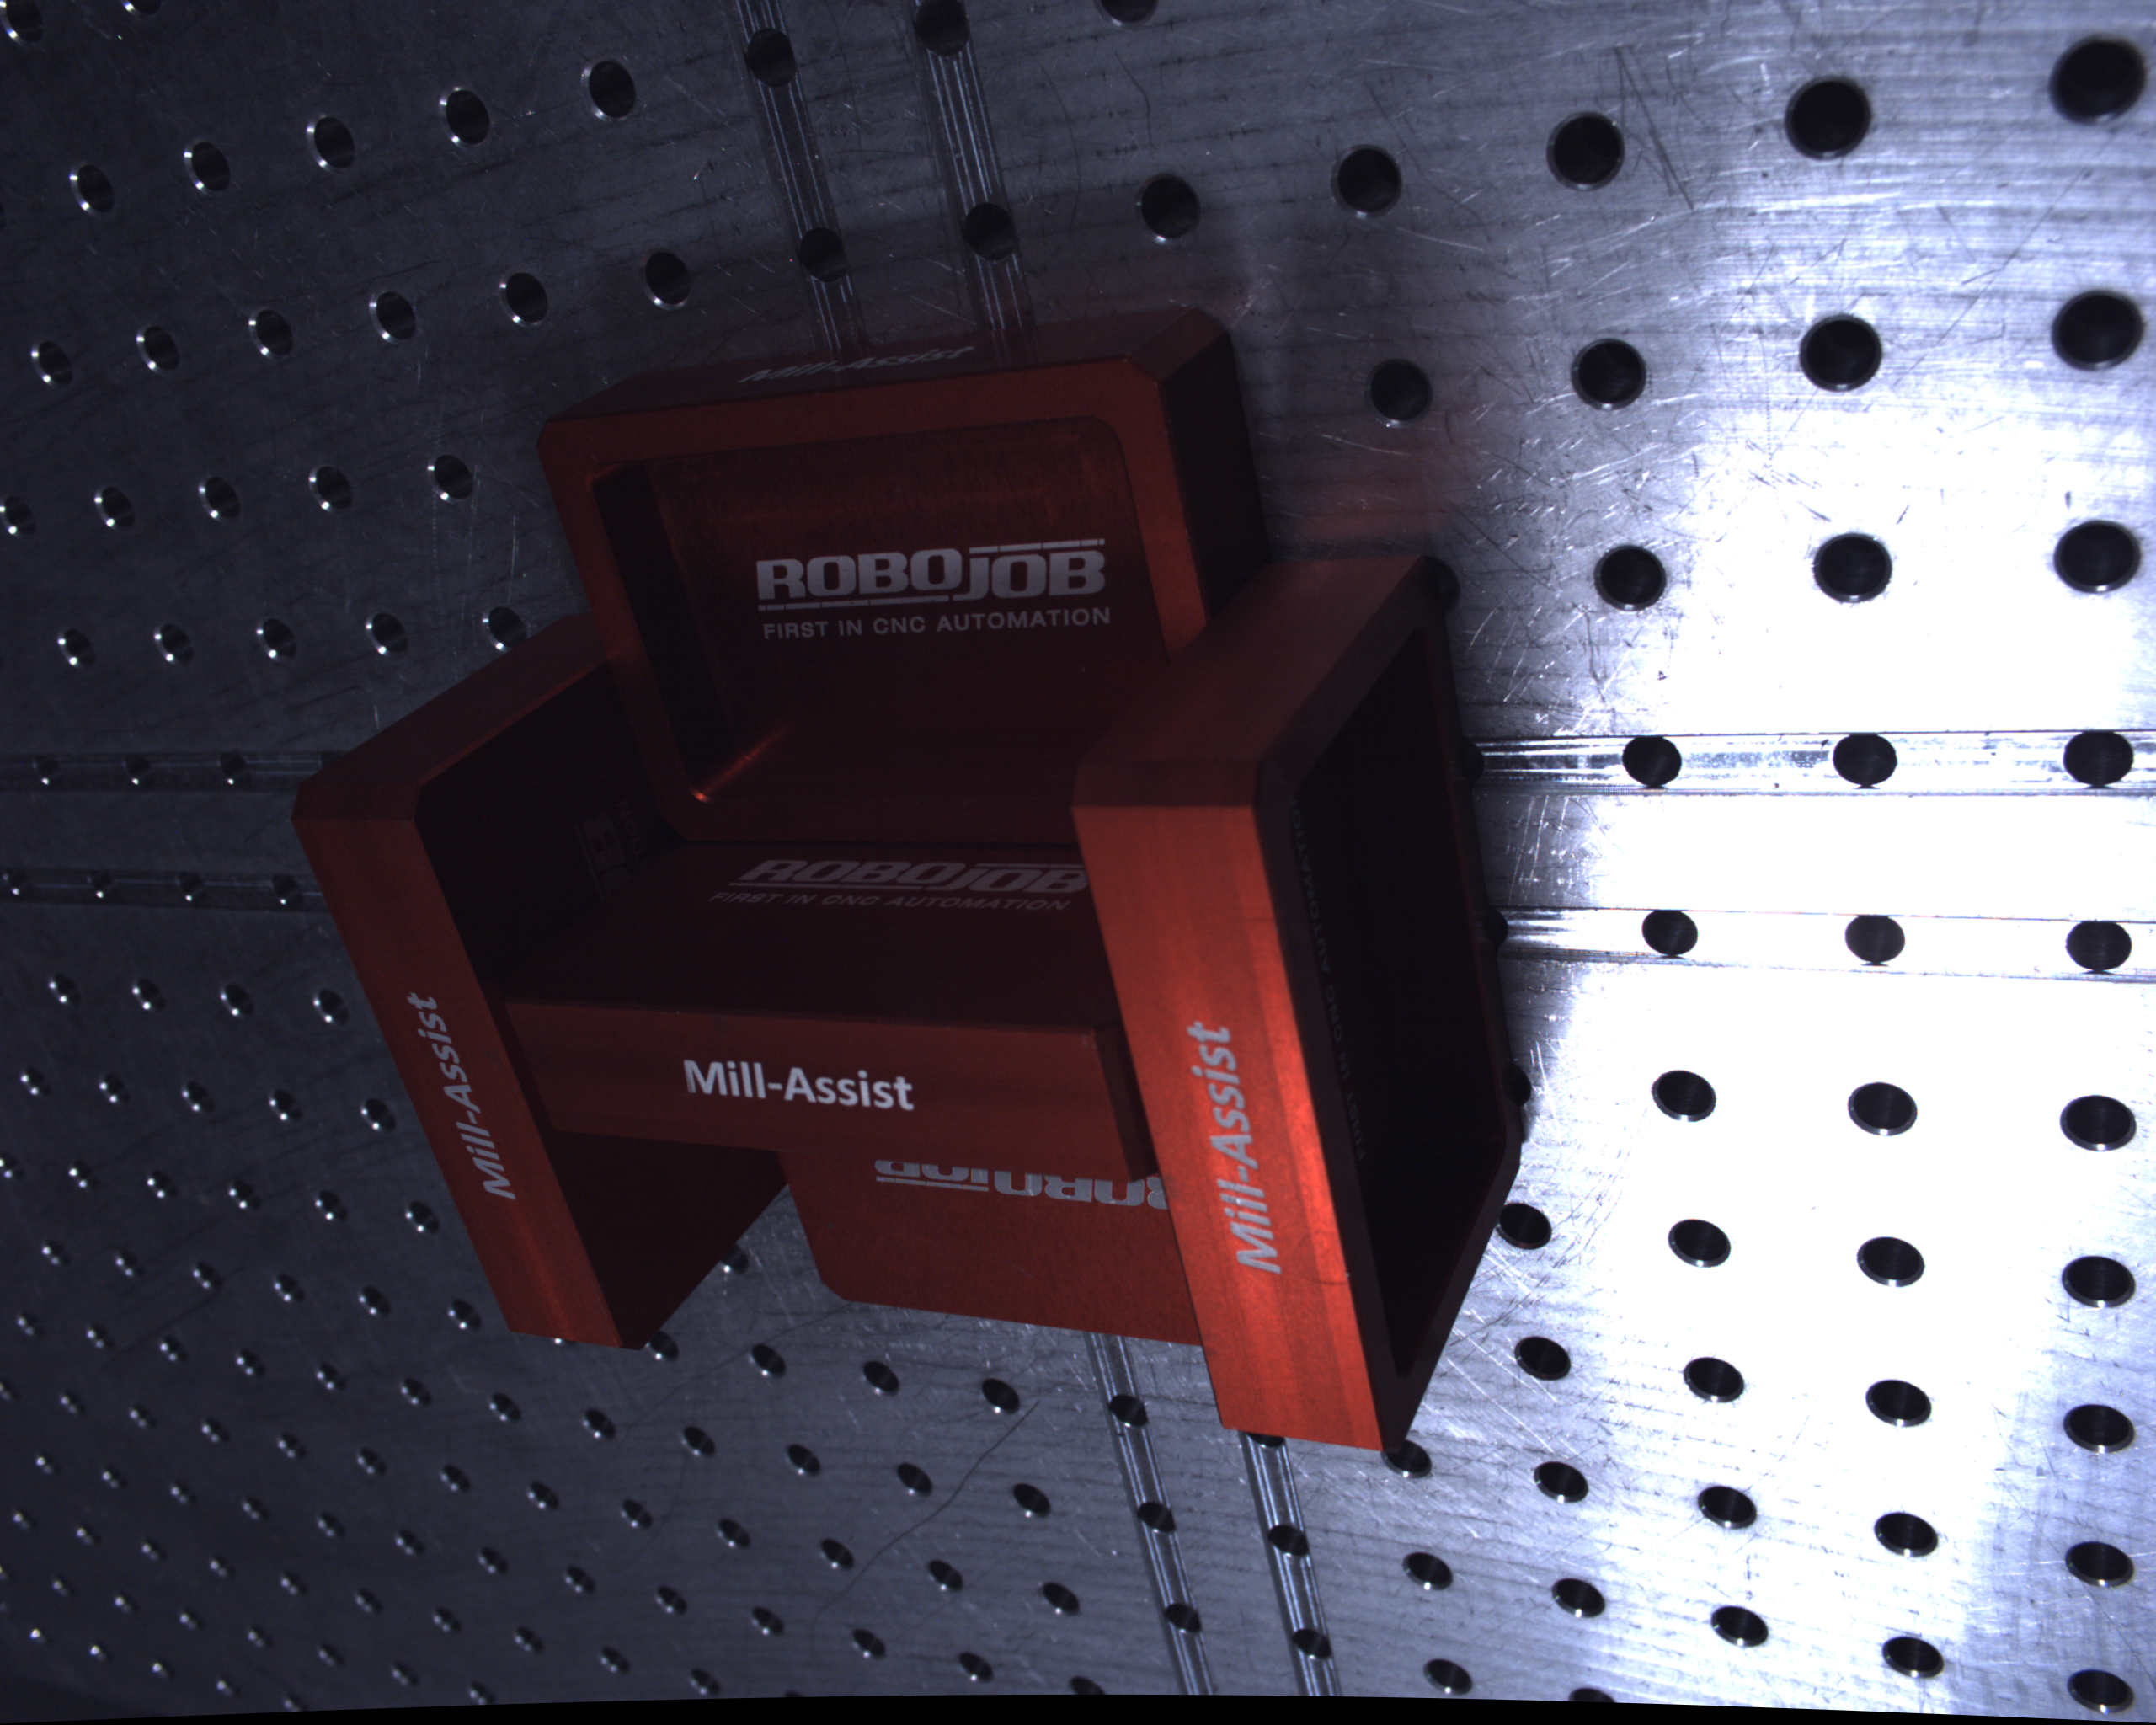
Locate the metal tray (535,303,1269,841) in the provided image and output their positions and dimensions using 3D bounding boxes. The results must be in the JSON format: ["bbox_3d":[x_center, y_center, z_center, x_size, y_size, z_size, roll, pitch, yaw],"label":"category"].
[{"bbox_3d":[-0.030,-0.050,0.391,0.130,0.030,0.089,1,119,27],"label":"metal tray"}]

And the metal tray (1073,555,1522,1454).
[{"bbox_3d":[0.043,0.023,0.359,0.030,0.090,0.129,1,119,28],"label":"metal tray"}]

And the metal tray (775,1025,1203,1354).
[{"bbox_3d":[-0.004,0.057,0.442,0.130,0.030,0.089,1,119,27],"label":"metal tray"}]

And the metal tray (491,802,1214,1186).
[{"bbox_3d":[-0.031,0.017,0.392,0.130,0.090,0.030,1,119,27],"label":"metal tray"}]

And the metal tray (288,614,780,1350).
[{"bbox_3d":[-0.100,0.023,0.433,0.030,0.090,0.129,1,119,28],"label":"metal tray"}]
